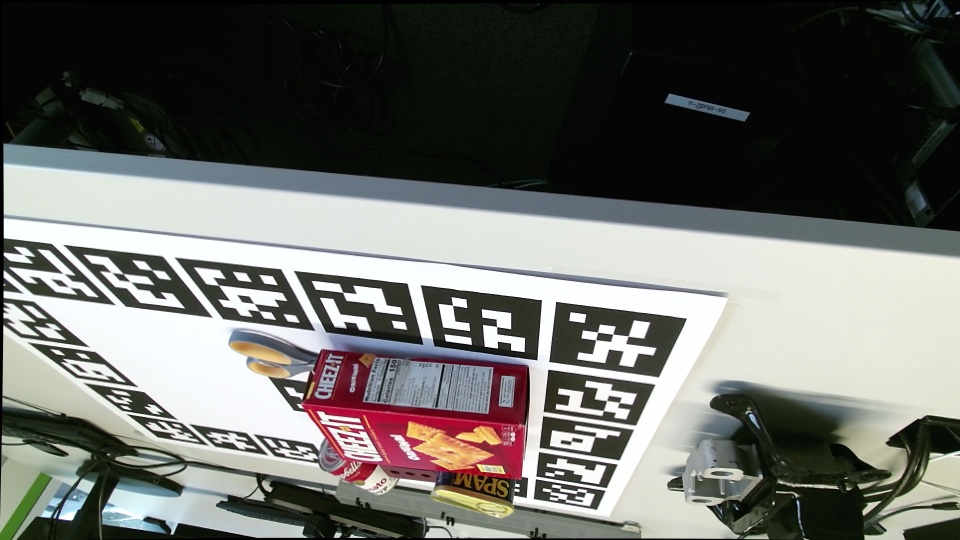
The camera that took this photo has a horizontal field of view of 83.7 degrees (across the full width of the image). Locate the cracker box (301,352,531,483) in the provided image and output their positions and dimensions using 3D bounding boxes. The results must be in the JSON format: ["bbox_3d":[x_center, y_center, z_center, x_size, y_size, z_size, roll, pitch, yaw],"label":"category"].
[{"bbox_3d":[-0.057,0.161,0.568,0.214,0.071,0.164,0,139,9],"label":"cracker box"}]

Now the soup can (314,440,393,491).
[{"bbox_3d":[-0.170,0.261,0.751,0.068,0.067,0.102,-23,133,34],"label":"soup can"}]

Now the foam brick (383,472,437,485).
[{"bbox_3d":[-0.090,0.252,0.720,0.078,0.051,0.053,-1,137,16],"label":"foam brick"}]

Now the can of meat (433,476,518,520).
[{"bbox_3d":[0.000,0.255,0.670,0.102,0.083,0.058,16,139,-2],"label":"can of meat"}]

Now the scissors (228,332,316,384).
[{"bbox_3d":[-0.167,0.102,0.577,0.203,0.016,0.088,3,138,11],"label":"scissors"}]
